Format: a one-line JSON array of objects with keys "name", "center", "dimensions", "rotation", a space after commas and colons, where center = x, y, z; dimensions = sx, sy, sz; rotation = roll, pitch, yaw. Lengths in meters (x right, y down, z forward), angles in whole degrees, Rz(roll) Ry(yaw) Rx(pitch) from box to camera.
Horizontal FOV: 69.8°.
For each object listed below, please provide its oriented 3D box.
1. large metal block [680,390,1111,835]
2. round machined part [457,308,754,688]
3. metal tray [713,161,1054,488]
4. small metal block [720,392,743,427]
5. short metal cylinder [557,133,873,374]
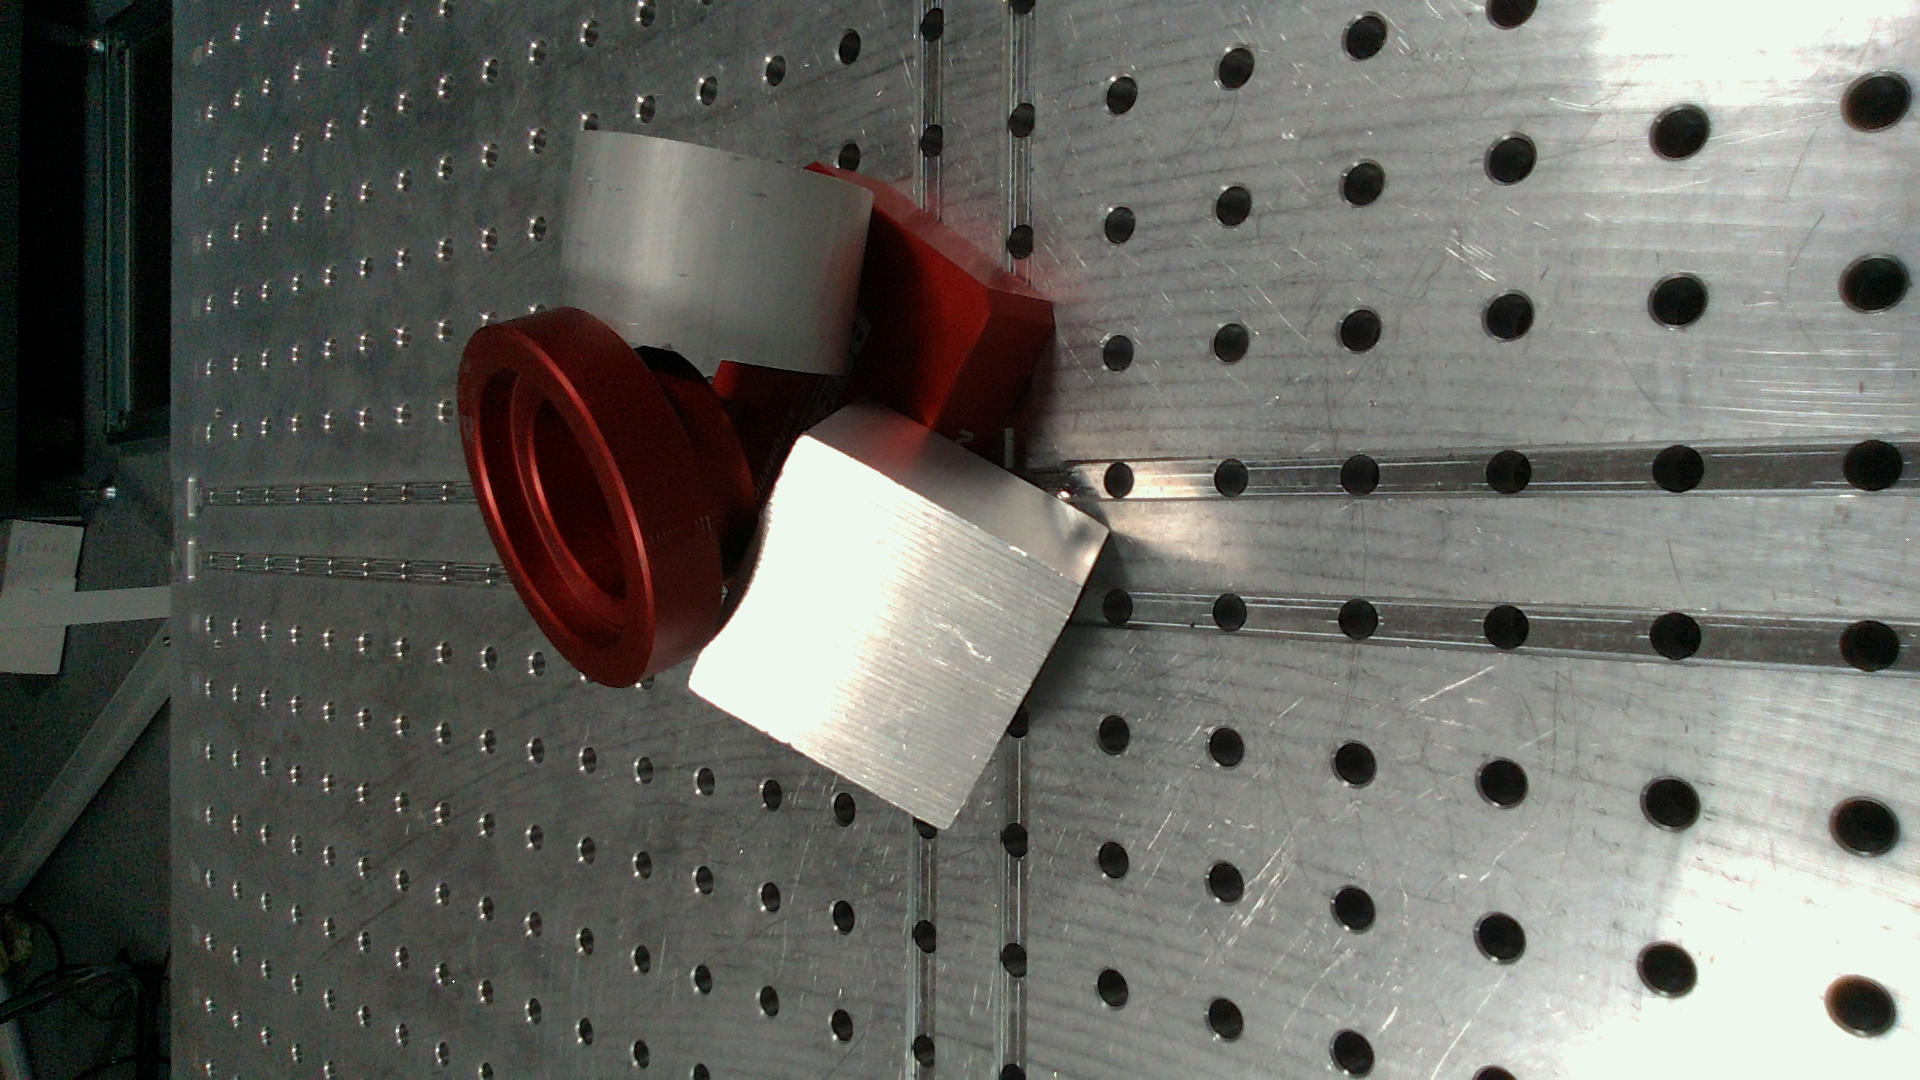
[{"name": "large metal block", "center": [-0.016, 0.018, 0.372], "dimensions": [0.080, 0.050, 0.080], "rotation": [29, 111, 4]}, {"name": "round machined part", "center": [-0.091, -0.014, 0.365], "dimensions": [0.098, 0.042, 0.098], "rotation": [29, 131, 40]}, {"name": "metal tray", "center": [-0.036, -0.038, 0.426], "dimensions": [0.090, 0.030, 0.130], "rotation": [42, 115, 32]}, {"name": "small metal block", "center": [-0.099, -0.024, 0.424], "dimensions": [0.025, 0.050, 0.050], "rotation": [24, 105, 38]}, {"name": "short metal cylinder", "center": [-0.068, -0.078, 0.379], "dimensions": [0.080, 0.080, 0.050], "rotation": [17, 101, 39]}]
